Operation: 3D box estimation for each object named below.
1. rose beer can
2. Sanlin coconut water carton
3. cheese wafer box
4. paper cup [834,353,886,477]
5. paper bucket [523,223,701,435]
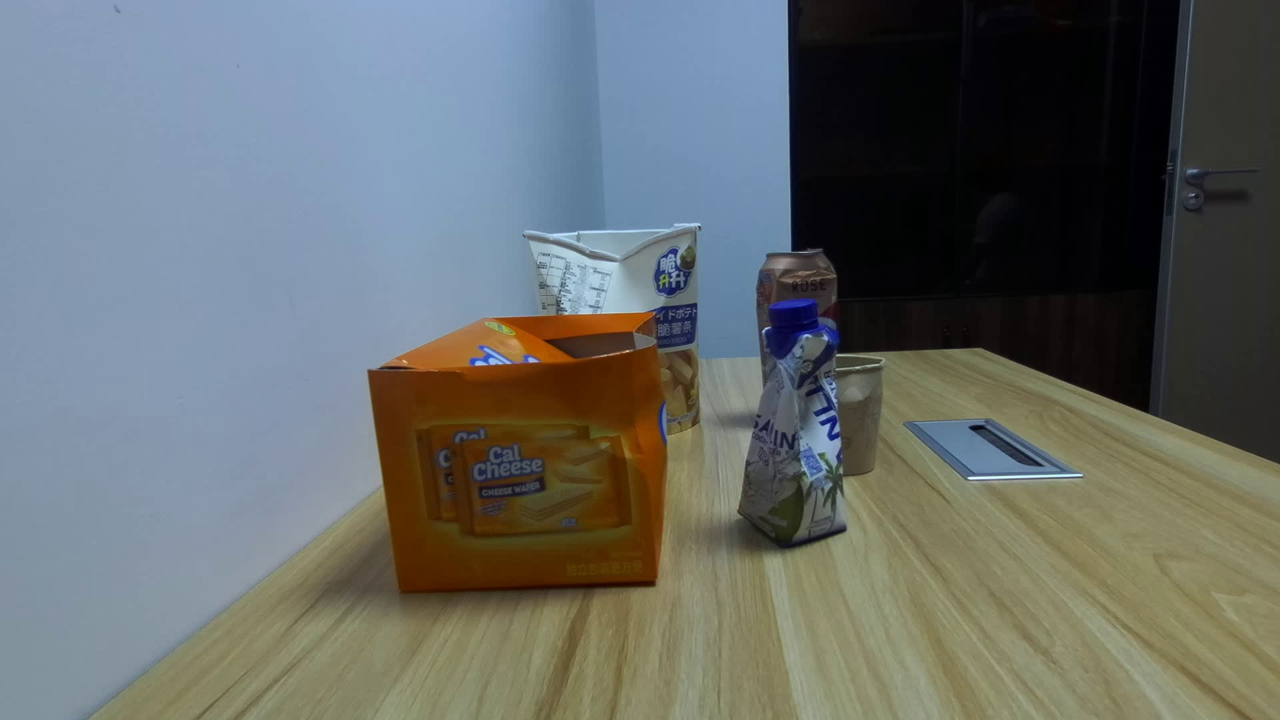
[{"bbox_3d":[0.151,-0.021,0.676,0.076,0.167,0.065,-6,7,-4],"label":"rose beer can"},{"bbox_3d":[0.103,0.036,0.428,0.069,0.144,0.056,0,14,-28],"label":"Sanlin coconut water carton"},{"bbox_3d":[-0.058,0.046,0.472,0.152,0.132,0.230,-1,9,2],"label":"cheese wafer box"},{"bbox_3d":[0.156,0.043,0.550,0.068,0.081,0.074,2,8,35],"label":"paper cup"},{"bbox_3d":[-0.026,-0.031,0.706,0.163,0.202,0.169,-5,7,-6],"label":"paper bucket"}]
